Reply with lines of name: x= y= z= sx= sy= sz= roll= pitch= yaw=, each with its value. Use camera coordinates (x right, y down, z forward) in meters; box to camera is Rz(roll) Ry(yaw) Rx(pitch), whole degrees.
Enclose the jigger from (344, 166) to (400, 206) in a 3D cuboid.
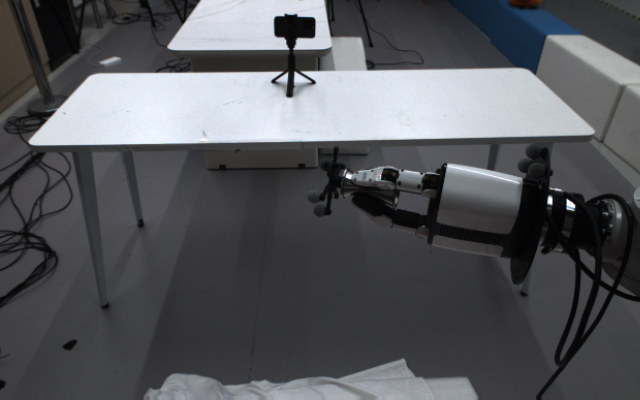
jigger: x=0.070 y=-0.020 z=0.601 sx=0.071 sy=0.043 sz=0.043 roll=9 pitch=35 yaw=16
